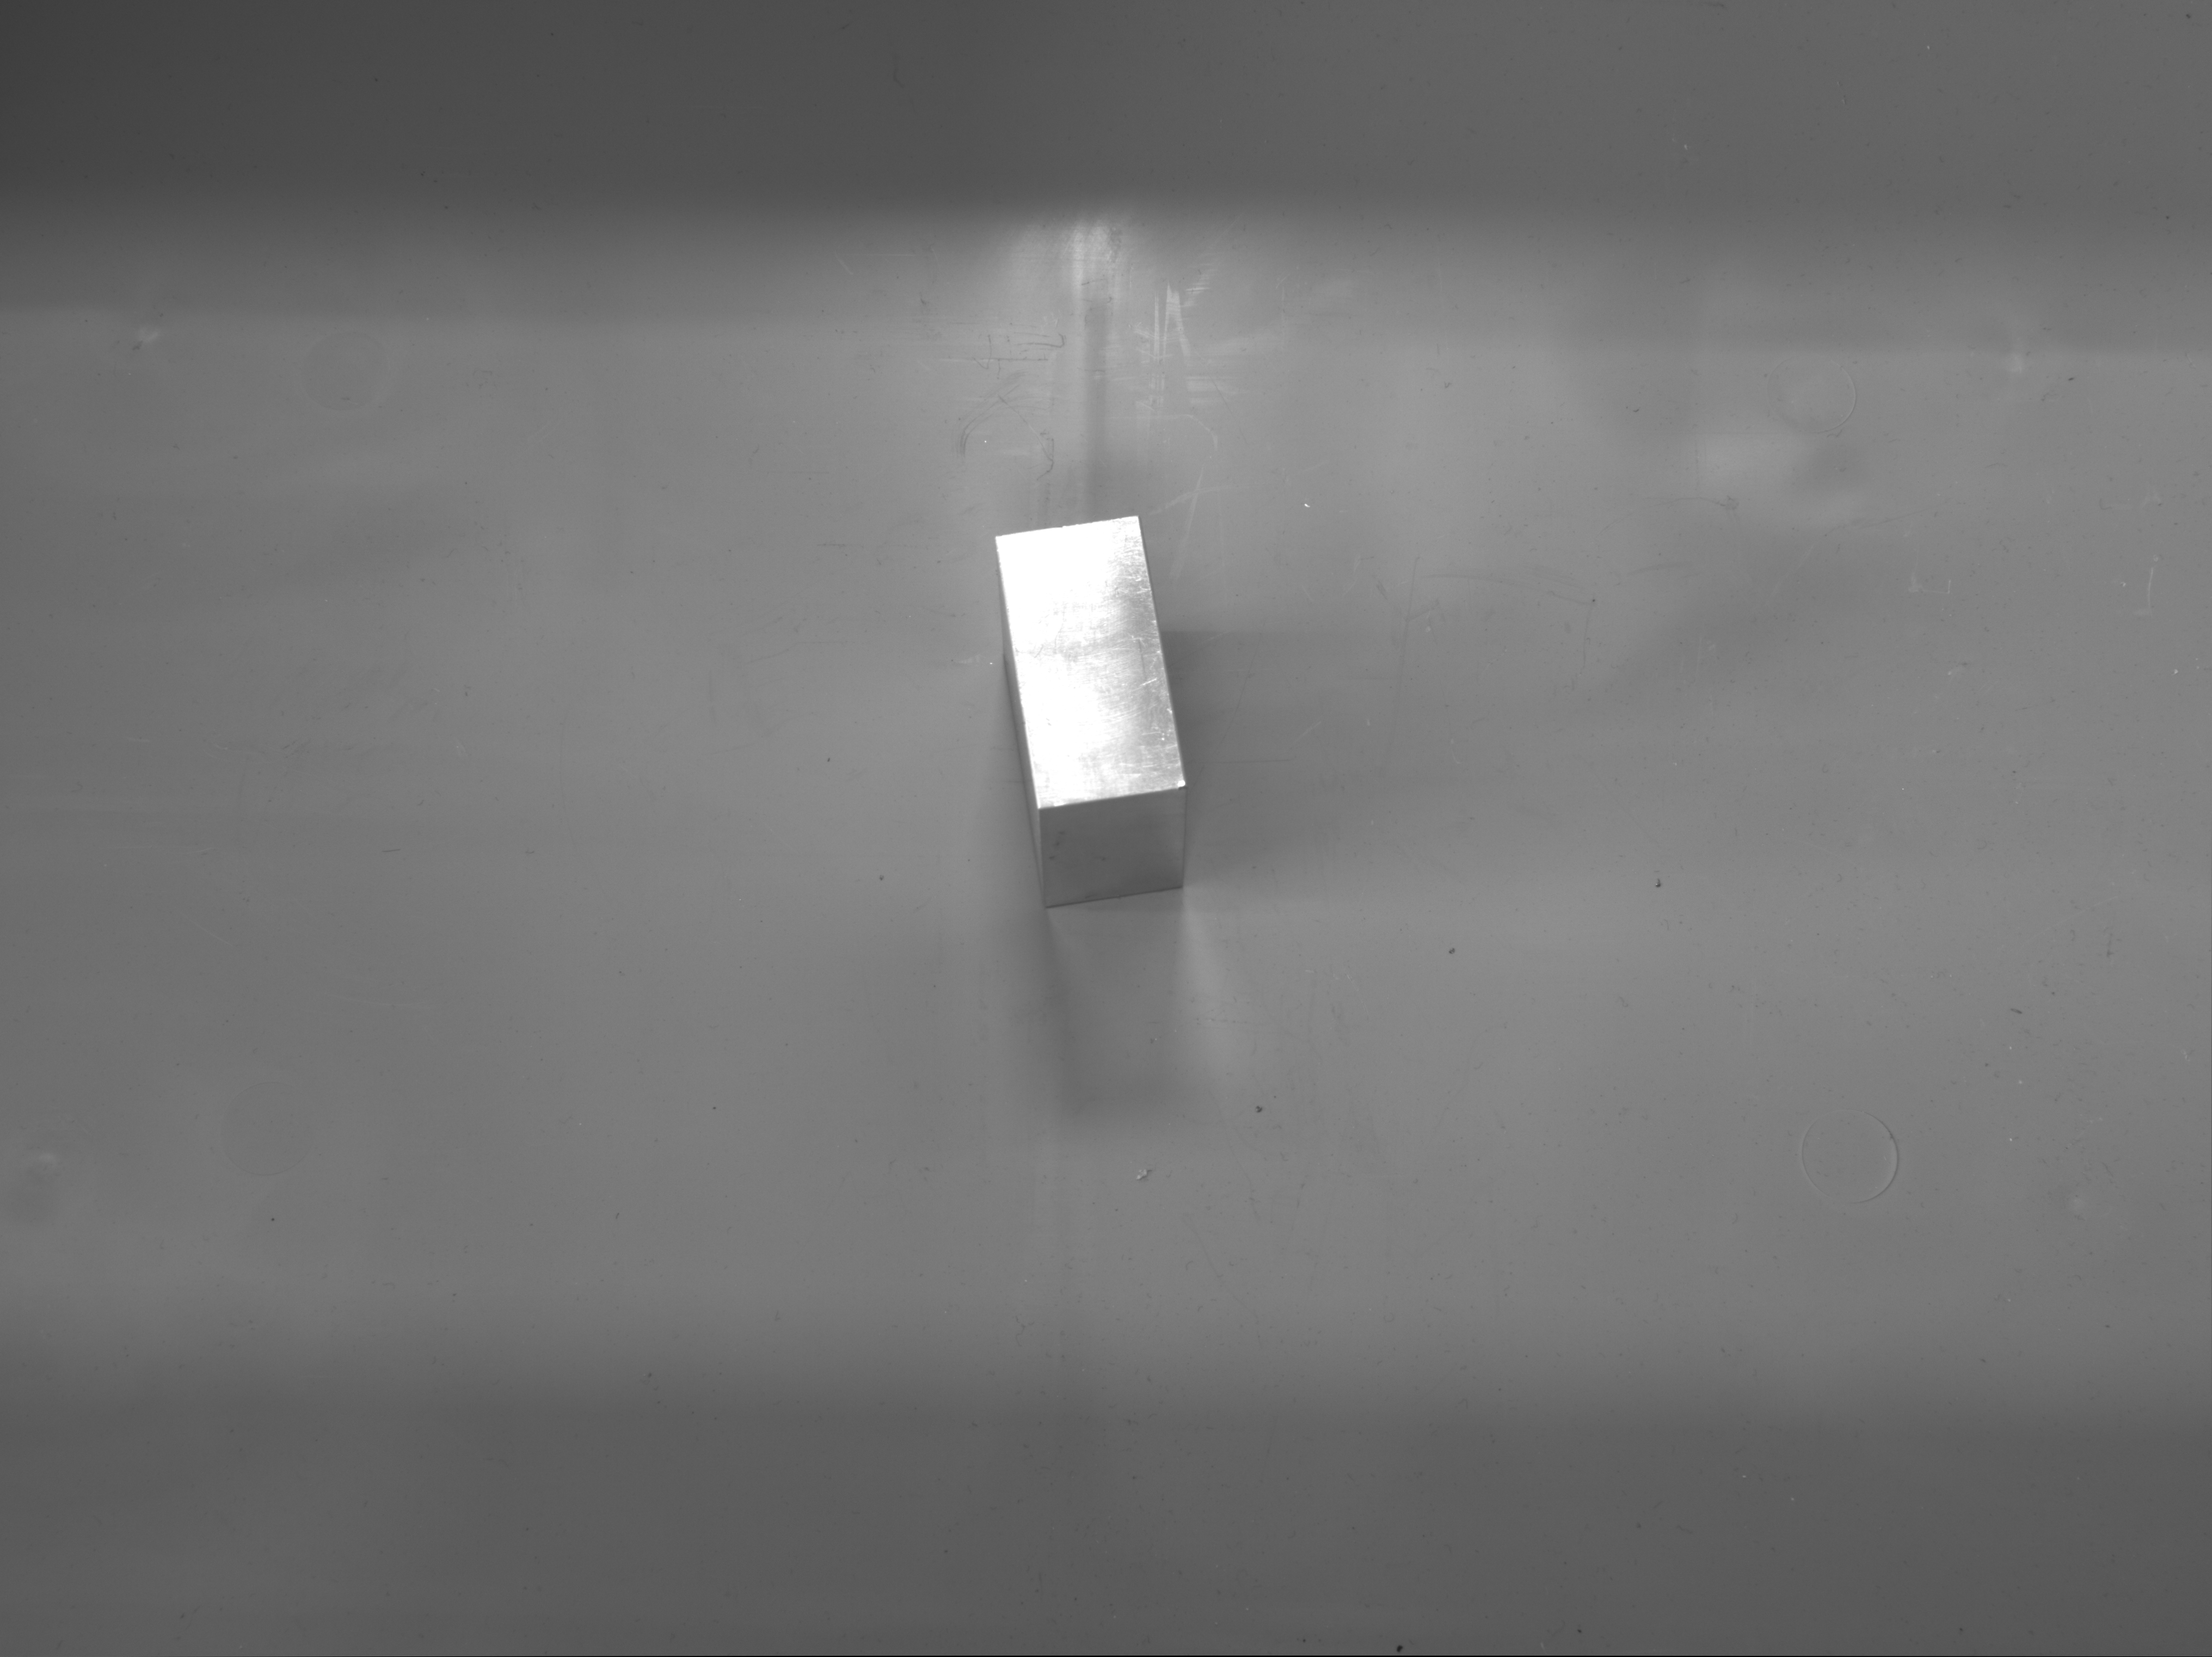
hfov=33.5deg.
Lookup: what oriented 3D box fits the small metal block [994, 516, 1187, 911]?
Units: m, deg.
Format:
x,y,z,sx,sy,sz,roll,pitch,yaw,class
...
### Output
x,y,z,sx,sy,sz,roll,pitch,yaw,class
-0.003,-0.019,0.636,0.025,0.050,0.050,-8,69,-3,small metal block
